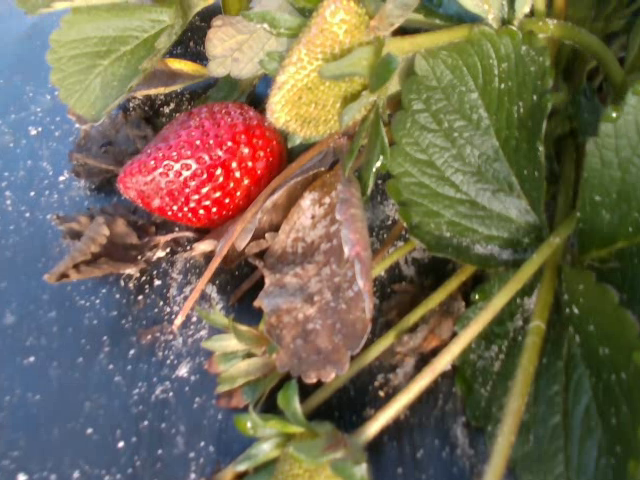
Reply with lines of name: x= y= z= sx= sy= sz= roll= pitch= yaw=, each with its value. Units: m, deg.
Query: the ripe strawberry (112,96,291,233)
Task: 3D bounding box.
ripe strawberry: x=-0.025 y=-0.014 z=0.111 sx=0.030 sy=0.026 sz=0.031 roll=-27 pitch=46 yaw=-33
